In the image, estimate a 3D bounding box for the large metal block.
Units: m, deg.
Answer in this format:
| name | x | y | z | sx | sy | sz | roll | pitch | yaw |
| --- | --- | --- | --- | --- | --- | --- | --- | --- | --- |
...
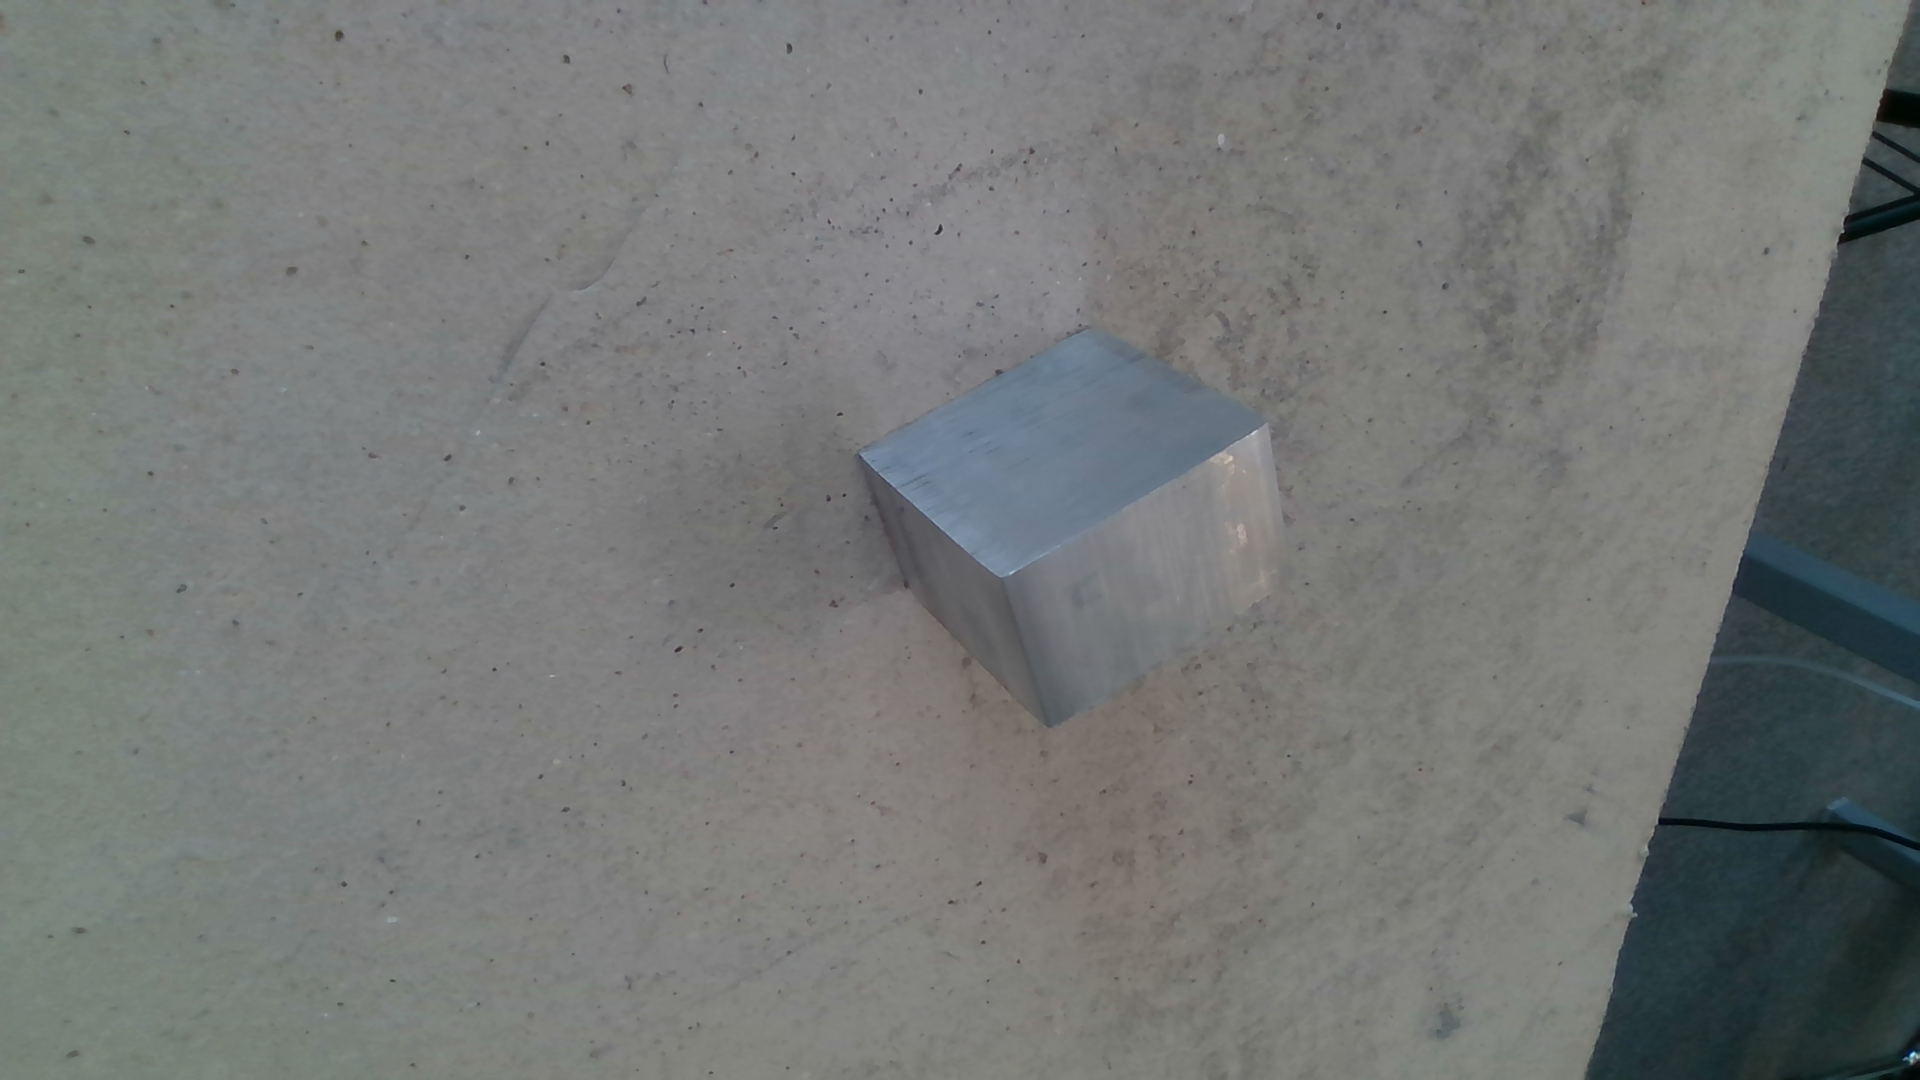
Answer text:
| name | x | y | z | sx | sy | sz | roll | pitch | yaw |
| --- | --- | --- | --- | --- | --- | --- | --- | --- | --- |
| large metal block | 0.030 | -0.007 | 0.368 | 0.080 | 0.080 | 0.050 | -30 | 127 | -15 |
